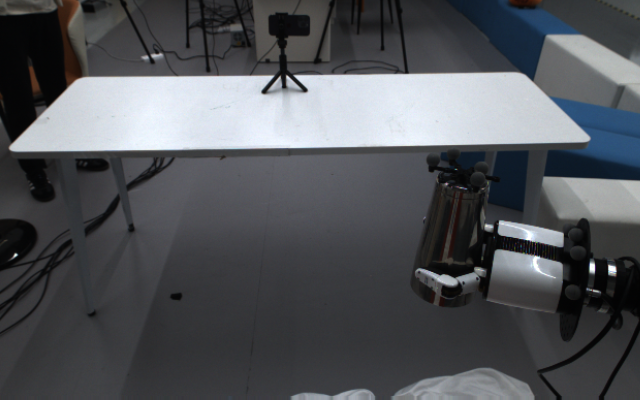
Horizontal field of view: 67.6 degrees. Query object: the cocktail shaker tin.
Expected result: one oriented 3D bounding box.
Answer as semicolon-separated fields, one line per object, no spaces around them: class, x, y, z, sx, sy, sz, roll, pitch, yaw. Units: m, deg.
cocktail shaker tin;0.180;0.048;0.653;0.093;0.170;0.093;1;28;-1
